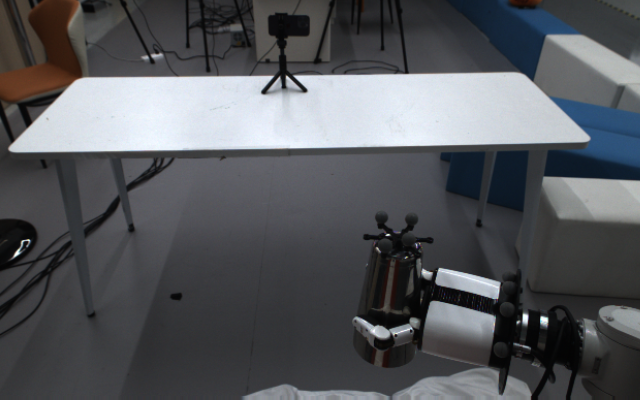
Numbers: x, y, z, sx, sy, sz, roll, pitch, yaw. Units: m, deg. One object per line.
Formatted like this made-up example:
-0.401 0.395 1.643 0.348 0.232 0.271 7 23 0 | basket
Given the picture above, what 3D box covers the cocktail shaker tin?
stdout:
0.099 0.131 0.659 0.093 0.170 0.093 2 28 -1 | cocktail shaker tin
